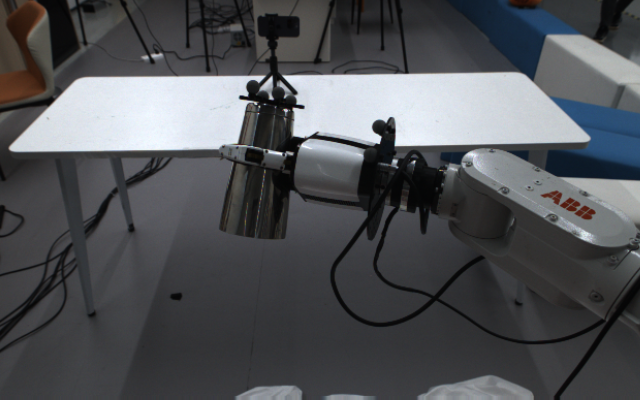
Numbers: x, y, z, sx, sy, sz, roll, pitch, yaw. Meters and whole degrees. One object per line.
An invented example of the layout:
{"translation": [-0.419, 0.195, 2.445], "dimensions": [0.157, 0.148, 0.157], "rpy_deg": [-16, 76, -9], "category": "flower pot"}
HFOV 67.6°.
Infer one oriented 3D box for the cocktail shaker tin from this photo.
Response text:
{"translation": [-0.078, -0.039, 0.653], "dimensions": [0.093, 0.170, 0.093], "rpy_deg": [9, 3, 0], "category": "cocktail shaker tin"}
